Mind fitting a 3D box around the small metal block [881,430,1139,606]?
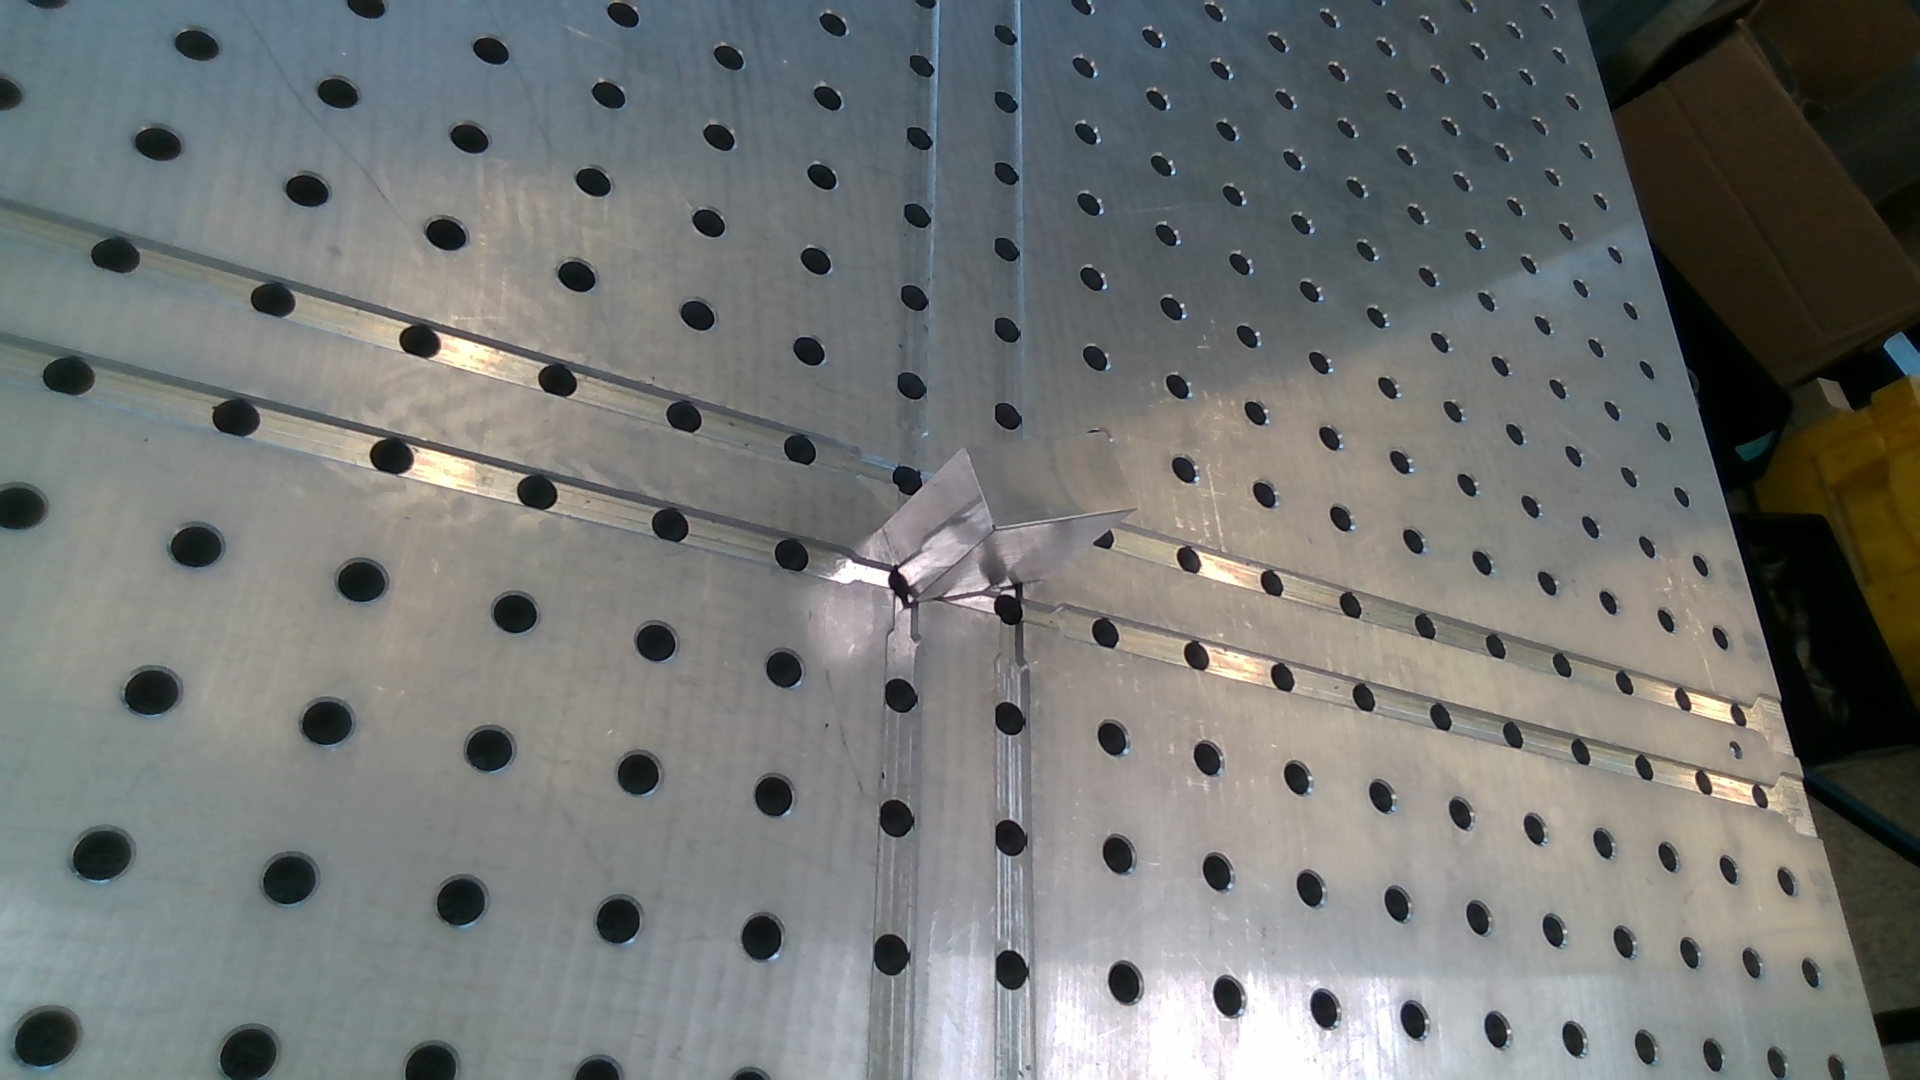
[{"bbox_3d":[0.013,-0.006,0.391,0.050,0.050,0.025,-9,70,-34],"label":"small metal block"}]
